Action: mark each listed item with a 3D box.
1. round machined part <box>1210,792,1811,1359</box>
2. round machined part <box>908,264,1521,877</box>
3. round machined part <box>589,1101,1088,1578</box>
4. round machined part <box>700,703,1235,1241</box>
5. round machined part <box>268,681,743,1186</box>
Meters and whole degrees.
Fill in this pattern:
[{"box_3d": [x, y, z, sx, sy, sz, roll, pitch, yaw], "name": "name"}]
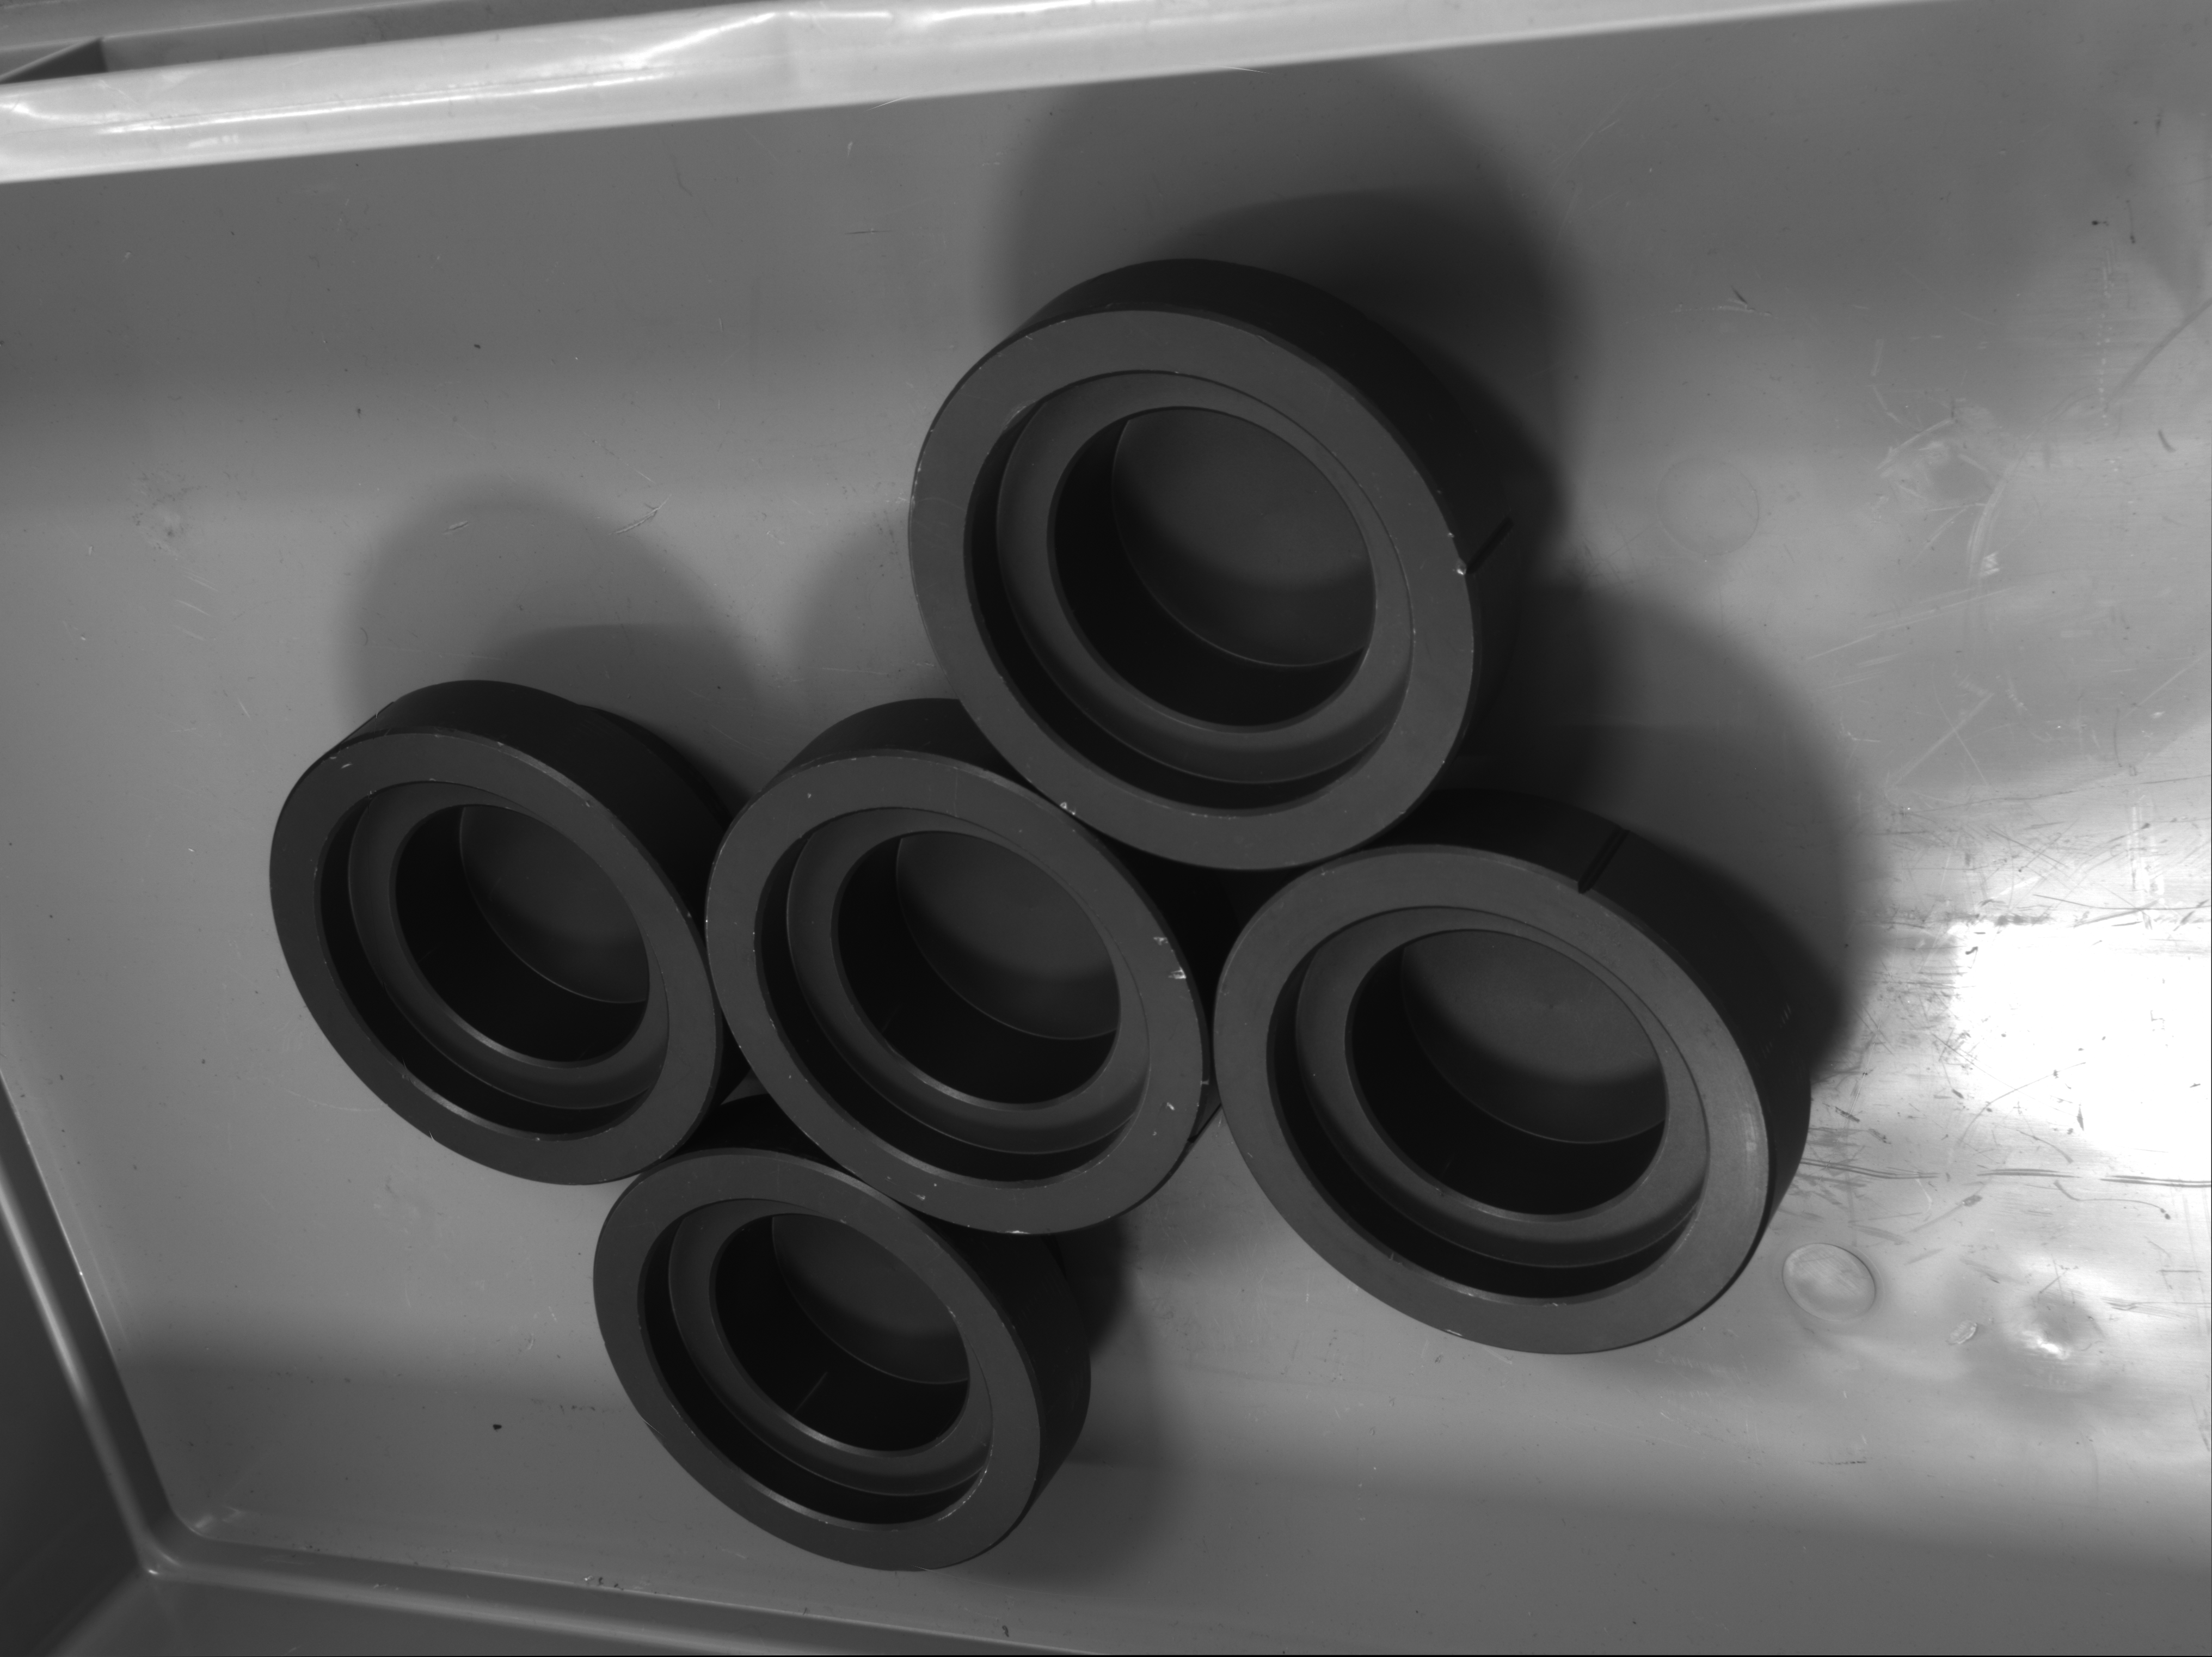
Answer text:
[{"box_3d": [0.070, 0.037, 0.613, 0.098, 0.042, 0.098, 13, 124, 21], "name": "round machined part"}, {"box_3d": [0.021, -0.045, 0.590, 0.098, 0.042, 0.098, 13, 124, 21], "name": "round machined part"}, {"box_3d": [-0.047, 0.093, 0.711, 0.098, 0.042, 0.098, 13, 124, 21], "name": "round machined part"}, {"box_3d": [-0.020, 0.021, 0.651, 0.098, 0.042, 0.098, 13, 124, 21], "name": "round machined part"}, {"box_3d": [-0.106, 0.016, 0.696, 0.098, 0.042, 0.098, 13, 124, 21], "name": "round machined part"}]
